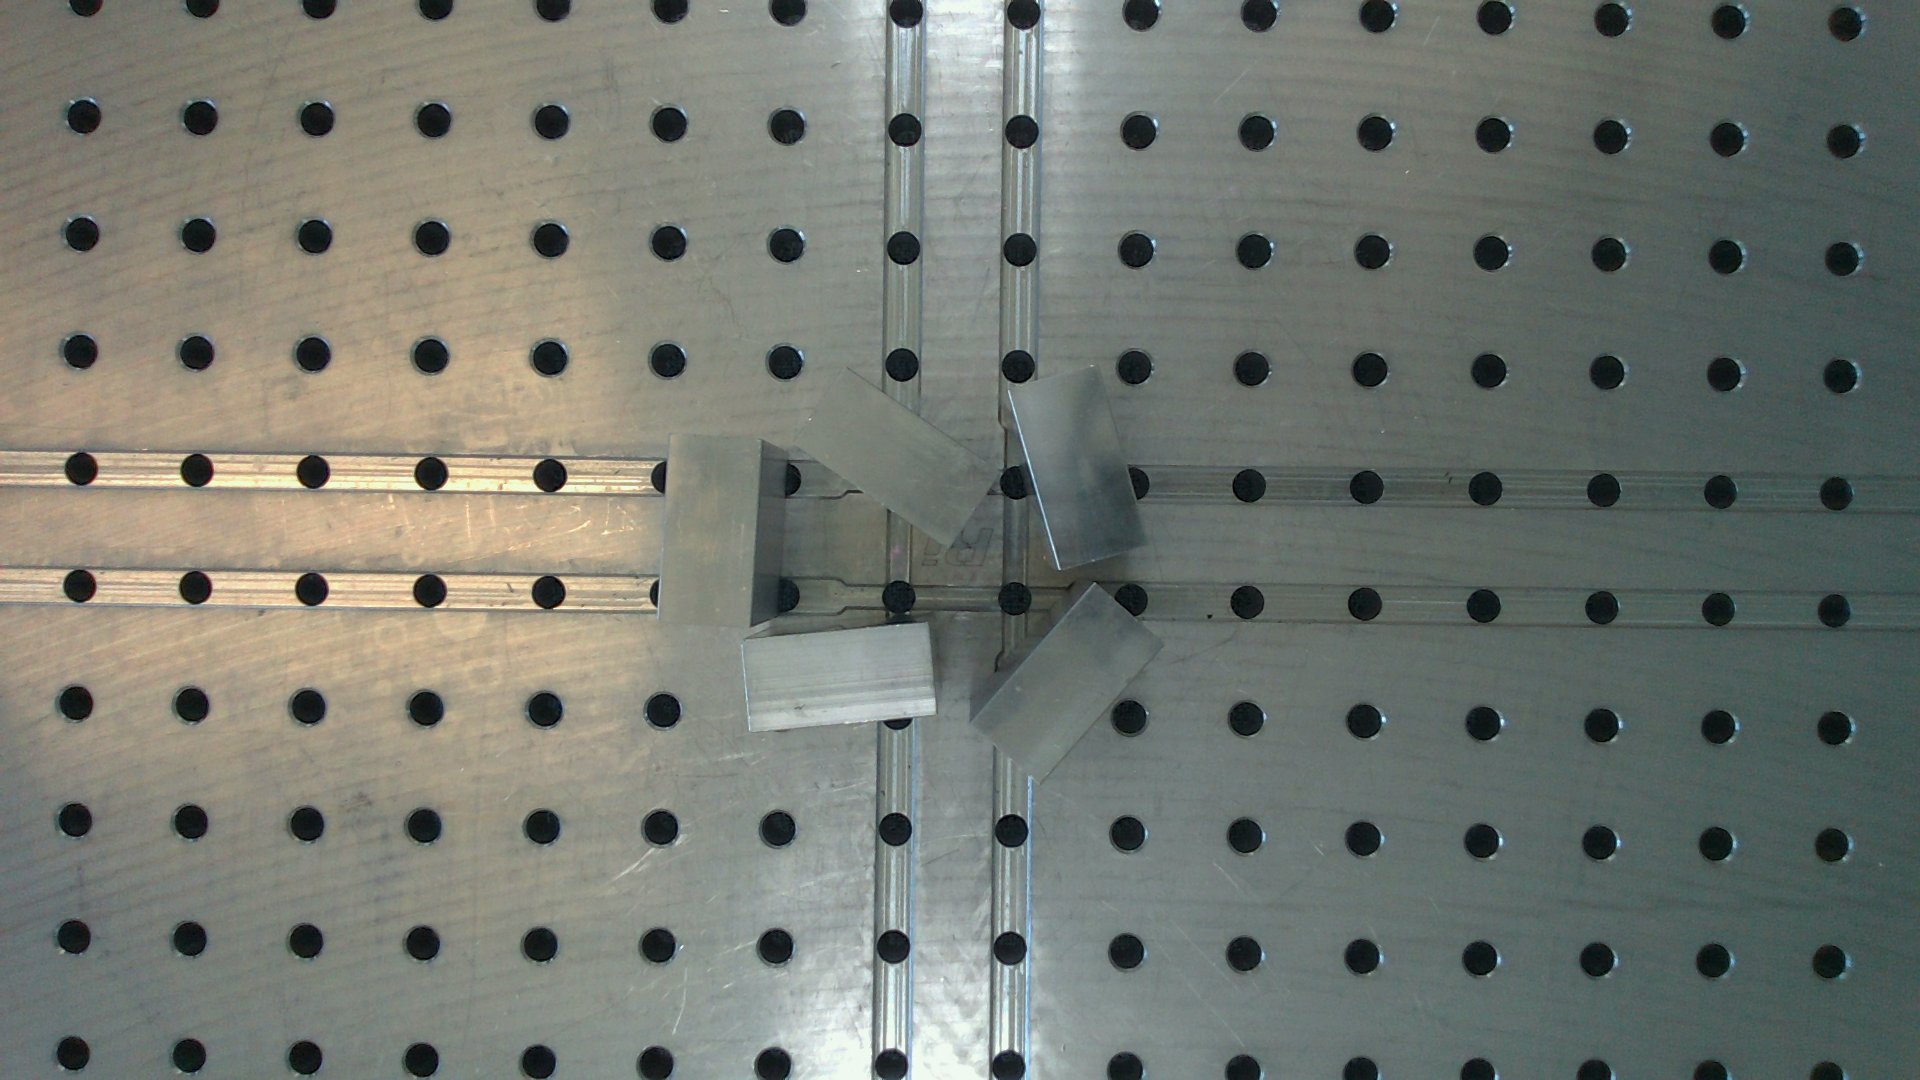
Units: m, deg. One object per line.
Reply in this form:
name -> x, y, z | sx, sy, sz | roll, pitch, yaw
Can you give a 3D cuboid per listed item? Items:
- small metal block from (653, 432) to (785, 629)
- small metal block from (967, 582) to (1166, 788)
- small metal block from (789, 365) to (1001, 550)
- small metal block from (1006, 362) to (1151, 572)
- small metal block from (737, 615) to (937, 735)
small metal block -> -0.066, -0.003, 0.385 | 0.025, 0.050, 0.050 | 3, 91, 0
small metal block -> 0.028, 0.038, 0.385 | 0.025, 0.050, 0.050 | 42, 90, 1
small metal block -> -0.017, -0.022, 0.385 | 0.050, 0.050, 0.025 | 34, 91, -1
small metal block -> 0.031, -0.019, 0.385 | 0.025, 0.050, 0.050 | -16, 89, 0
small metal block -> -0.032, 0.036, 0.385 | 0.050, 0.050, 0.025 | -5, 90, 0
